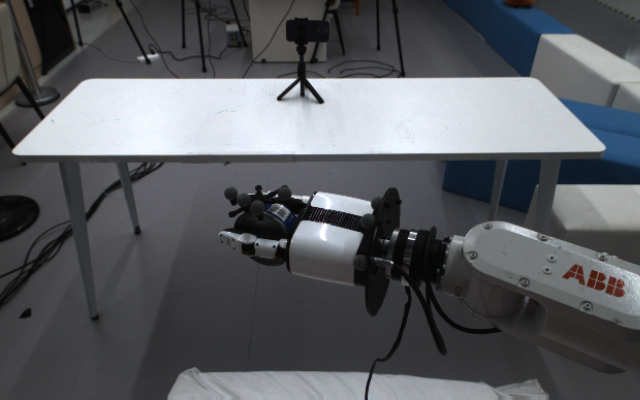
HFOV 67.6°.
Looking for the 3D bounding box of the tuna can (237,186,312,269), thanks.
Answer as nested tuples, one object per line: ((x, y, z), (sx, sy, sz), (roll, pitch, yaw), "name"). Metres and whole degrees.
((-0.065, 0.043, 0.638), (0.085, 0.085, 0.034), (14, 34, 17), "tuna can")
